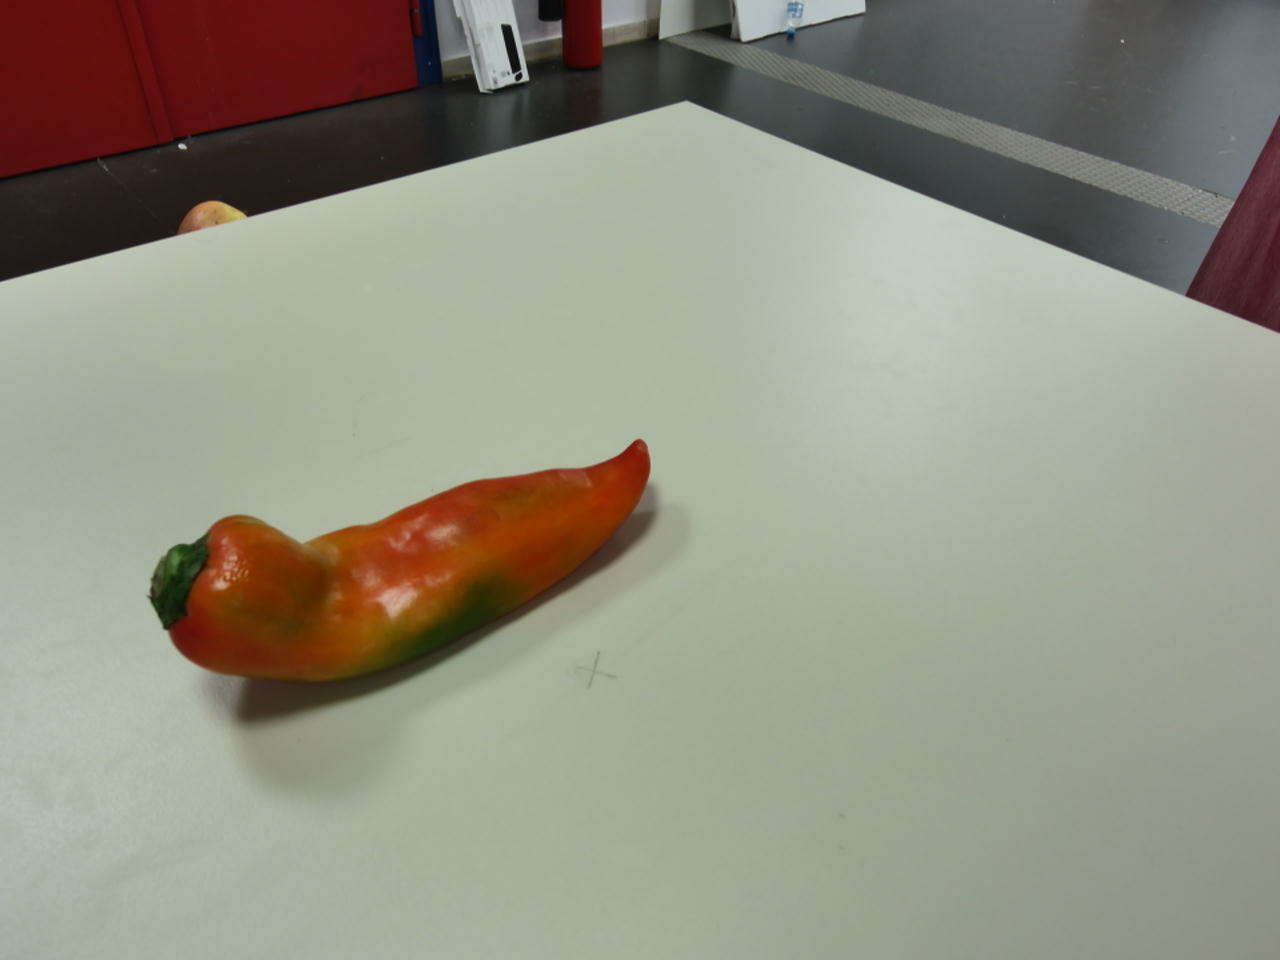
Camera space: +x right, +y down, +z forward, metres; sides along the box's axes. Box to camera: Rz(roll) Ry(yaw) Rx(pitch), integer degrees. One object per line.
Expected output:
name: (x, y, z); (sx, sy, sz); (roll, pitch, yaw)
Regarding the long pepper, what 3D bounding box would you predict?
long pepper: (-0.075, 0.019, 0.376); (0.199, 0.065, 0.066); (-22, 42, -27)
